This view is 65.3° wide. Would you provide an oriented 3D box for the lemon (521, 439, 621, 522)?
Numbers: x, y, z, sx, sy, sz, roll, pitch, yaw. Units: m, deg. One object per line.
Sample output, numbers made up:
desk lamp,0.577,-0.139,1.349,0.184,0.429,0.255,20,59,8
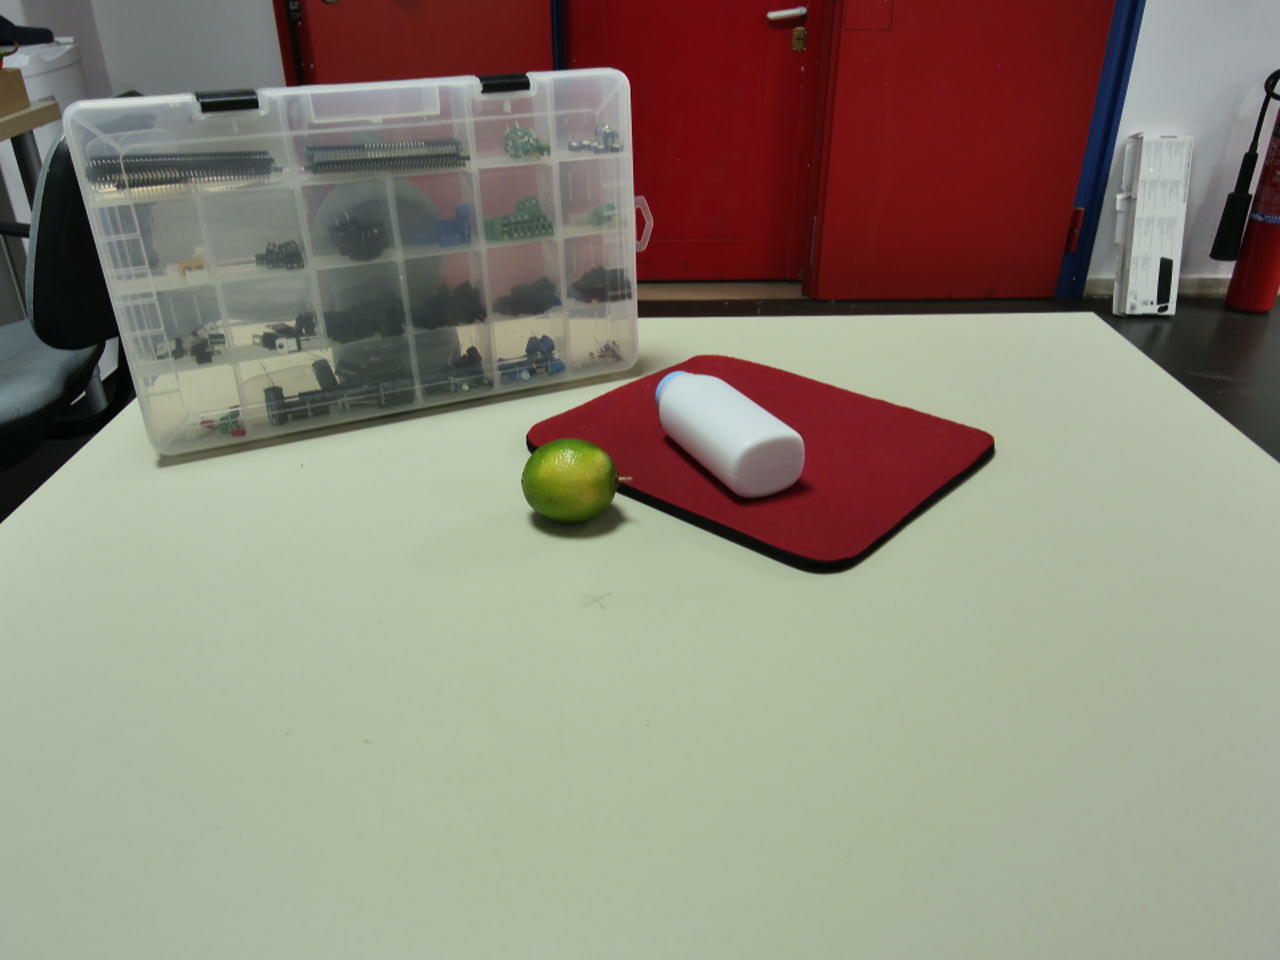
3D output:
lemon,-0.043,0.001,0.608,0.054,0.050,0.055,-19,33,-35
